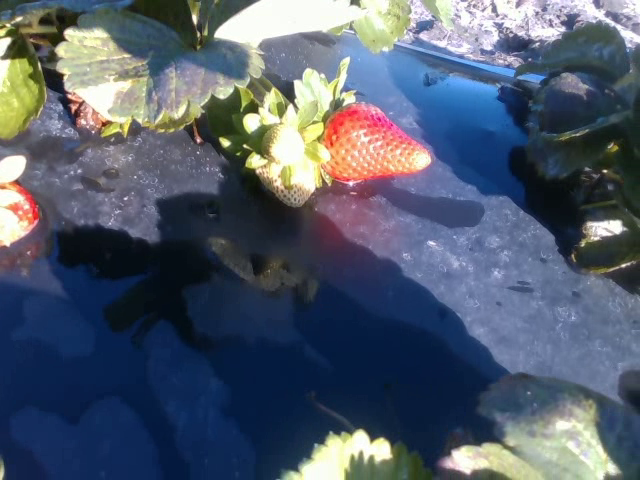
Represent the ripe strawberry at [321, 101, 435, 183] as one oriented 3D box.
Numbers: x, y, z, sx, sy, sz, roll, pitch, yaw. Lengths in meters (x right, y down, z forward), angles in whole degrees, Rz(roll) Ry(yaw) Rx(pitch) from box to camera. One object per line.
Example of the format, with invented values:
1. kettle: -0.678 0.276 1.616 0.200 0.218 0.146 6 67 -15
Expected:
1. ripe strawberry: 0.029 -0.046 0.311 0.064 0.050 0.052 19 -10 17
